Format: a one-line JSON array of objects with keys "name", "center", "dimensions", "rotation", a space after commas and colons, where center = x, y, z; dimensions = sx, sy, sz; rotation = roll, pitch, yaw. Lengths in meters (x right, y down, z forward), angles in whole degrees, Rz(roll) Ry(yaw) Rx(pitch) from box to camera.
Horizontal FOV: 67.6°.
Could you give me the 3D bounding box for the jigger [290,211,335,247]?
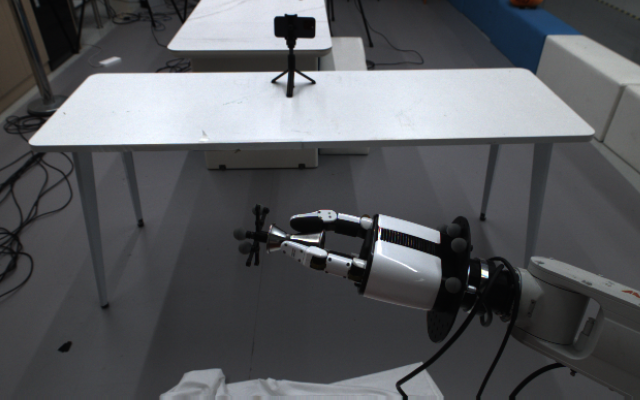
[{"name": "jigger", "center": [-0.022, 0.048, 0.619], "dimensions": [0.071, 0.043, 0.043], "rotation": [7, 35, 7]}]
